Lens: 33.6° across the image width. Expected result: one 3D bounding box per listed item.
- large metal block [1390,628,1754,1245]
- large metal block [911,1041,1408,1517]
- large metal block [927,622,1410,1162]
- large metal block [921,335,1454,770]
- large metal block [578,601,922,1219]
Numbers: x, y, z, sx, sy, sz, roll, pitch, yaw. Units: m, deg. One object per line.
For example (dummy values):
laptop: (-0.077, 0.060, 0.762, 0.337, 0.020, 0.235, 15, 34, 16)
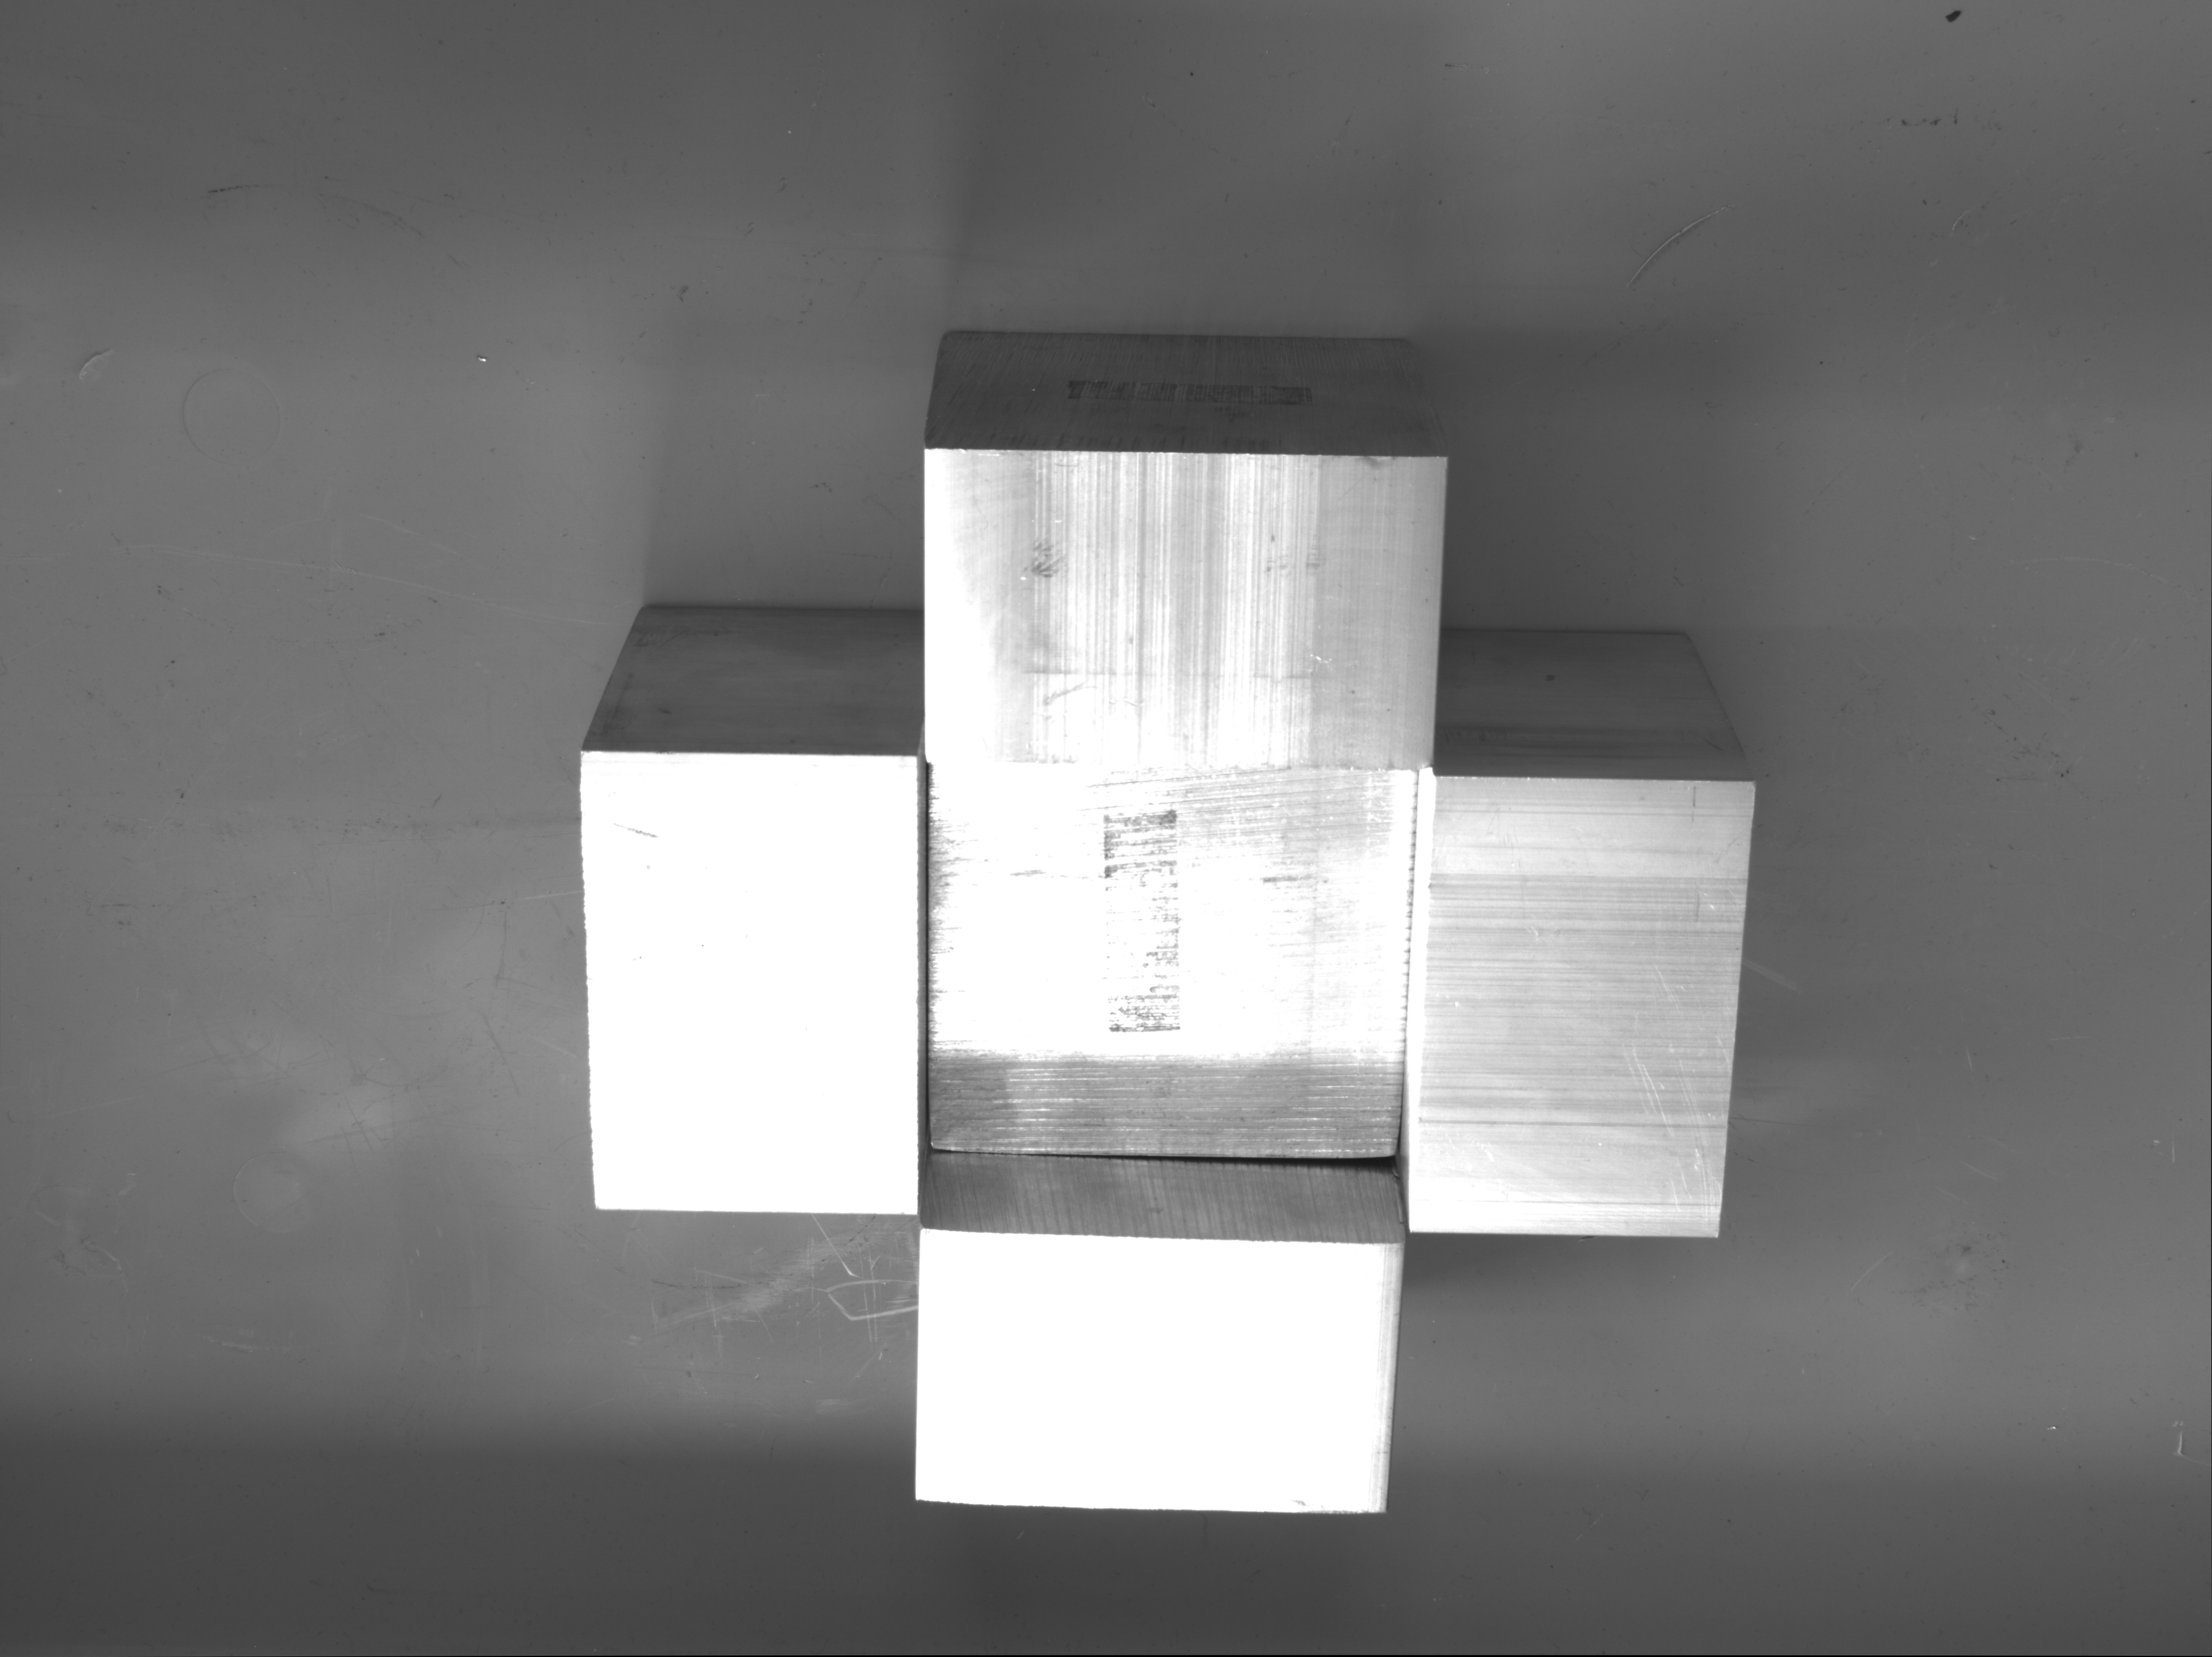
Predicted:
large metal block: (0.075, 0.016, 0.620, 0.050, 0.080, 0.080, 1, 110, 0)
large metal block: (0.009, 0.077, 0.641, 0.080, 0.080, 0.050, 2, 110, -1)
large metal block: (0.011, 0.010, 0.632, 0.080, 0.050, 0.080, 1, 110, 0)
large metal block: (0.012, -0.047, 0.596, 0.080, 0.080, 0.050, 1, 110, 0)
large metal block: (-0.057, 0.012, 0.618, 0.050, 0.080, 0.080, 1, 110, 0)
